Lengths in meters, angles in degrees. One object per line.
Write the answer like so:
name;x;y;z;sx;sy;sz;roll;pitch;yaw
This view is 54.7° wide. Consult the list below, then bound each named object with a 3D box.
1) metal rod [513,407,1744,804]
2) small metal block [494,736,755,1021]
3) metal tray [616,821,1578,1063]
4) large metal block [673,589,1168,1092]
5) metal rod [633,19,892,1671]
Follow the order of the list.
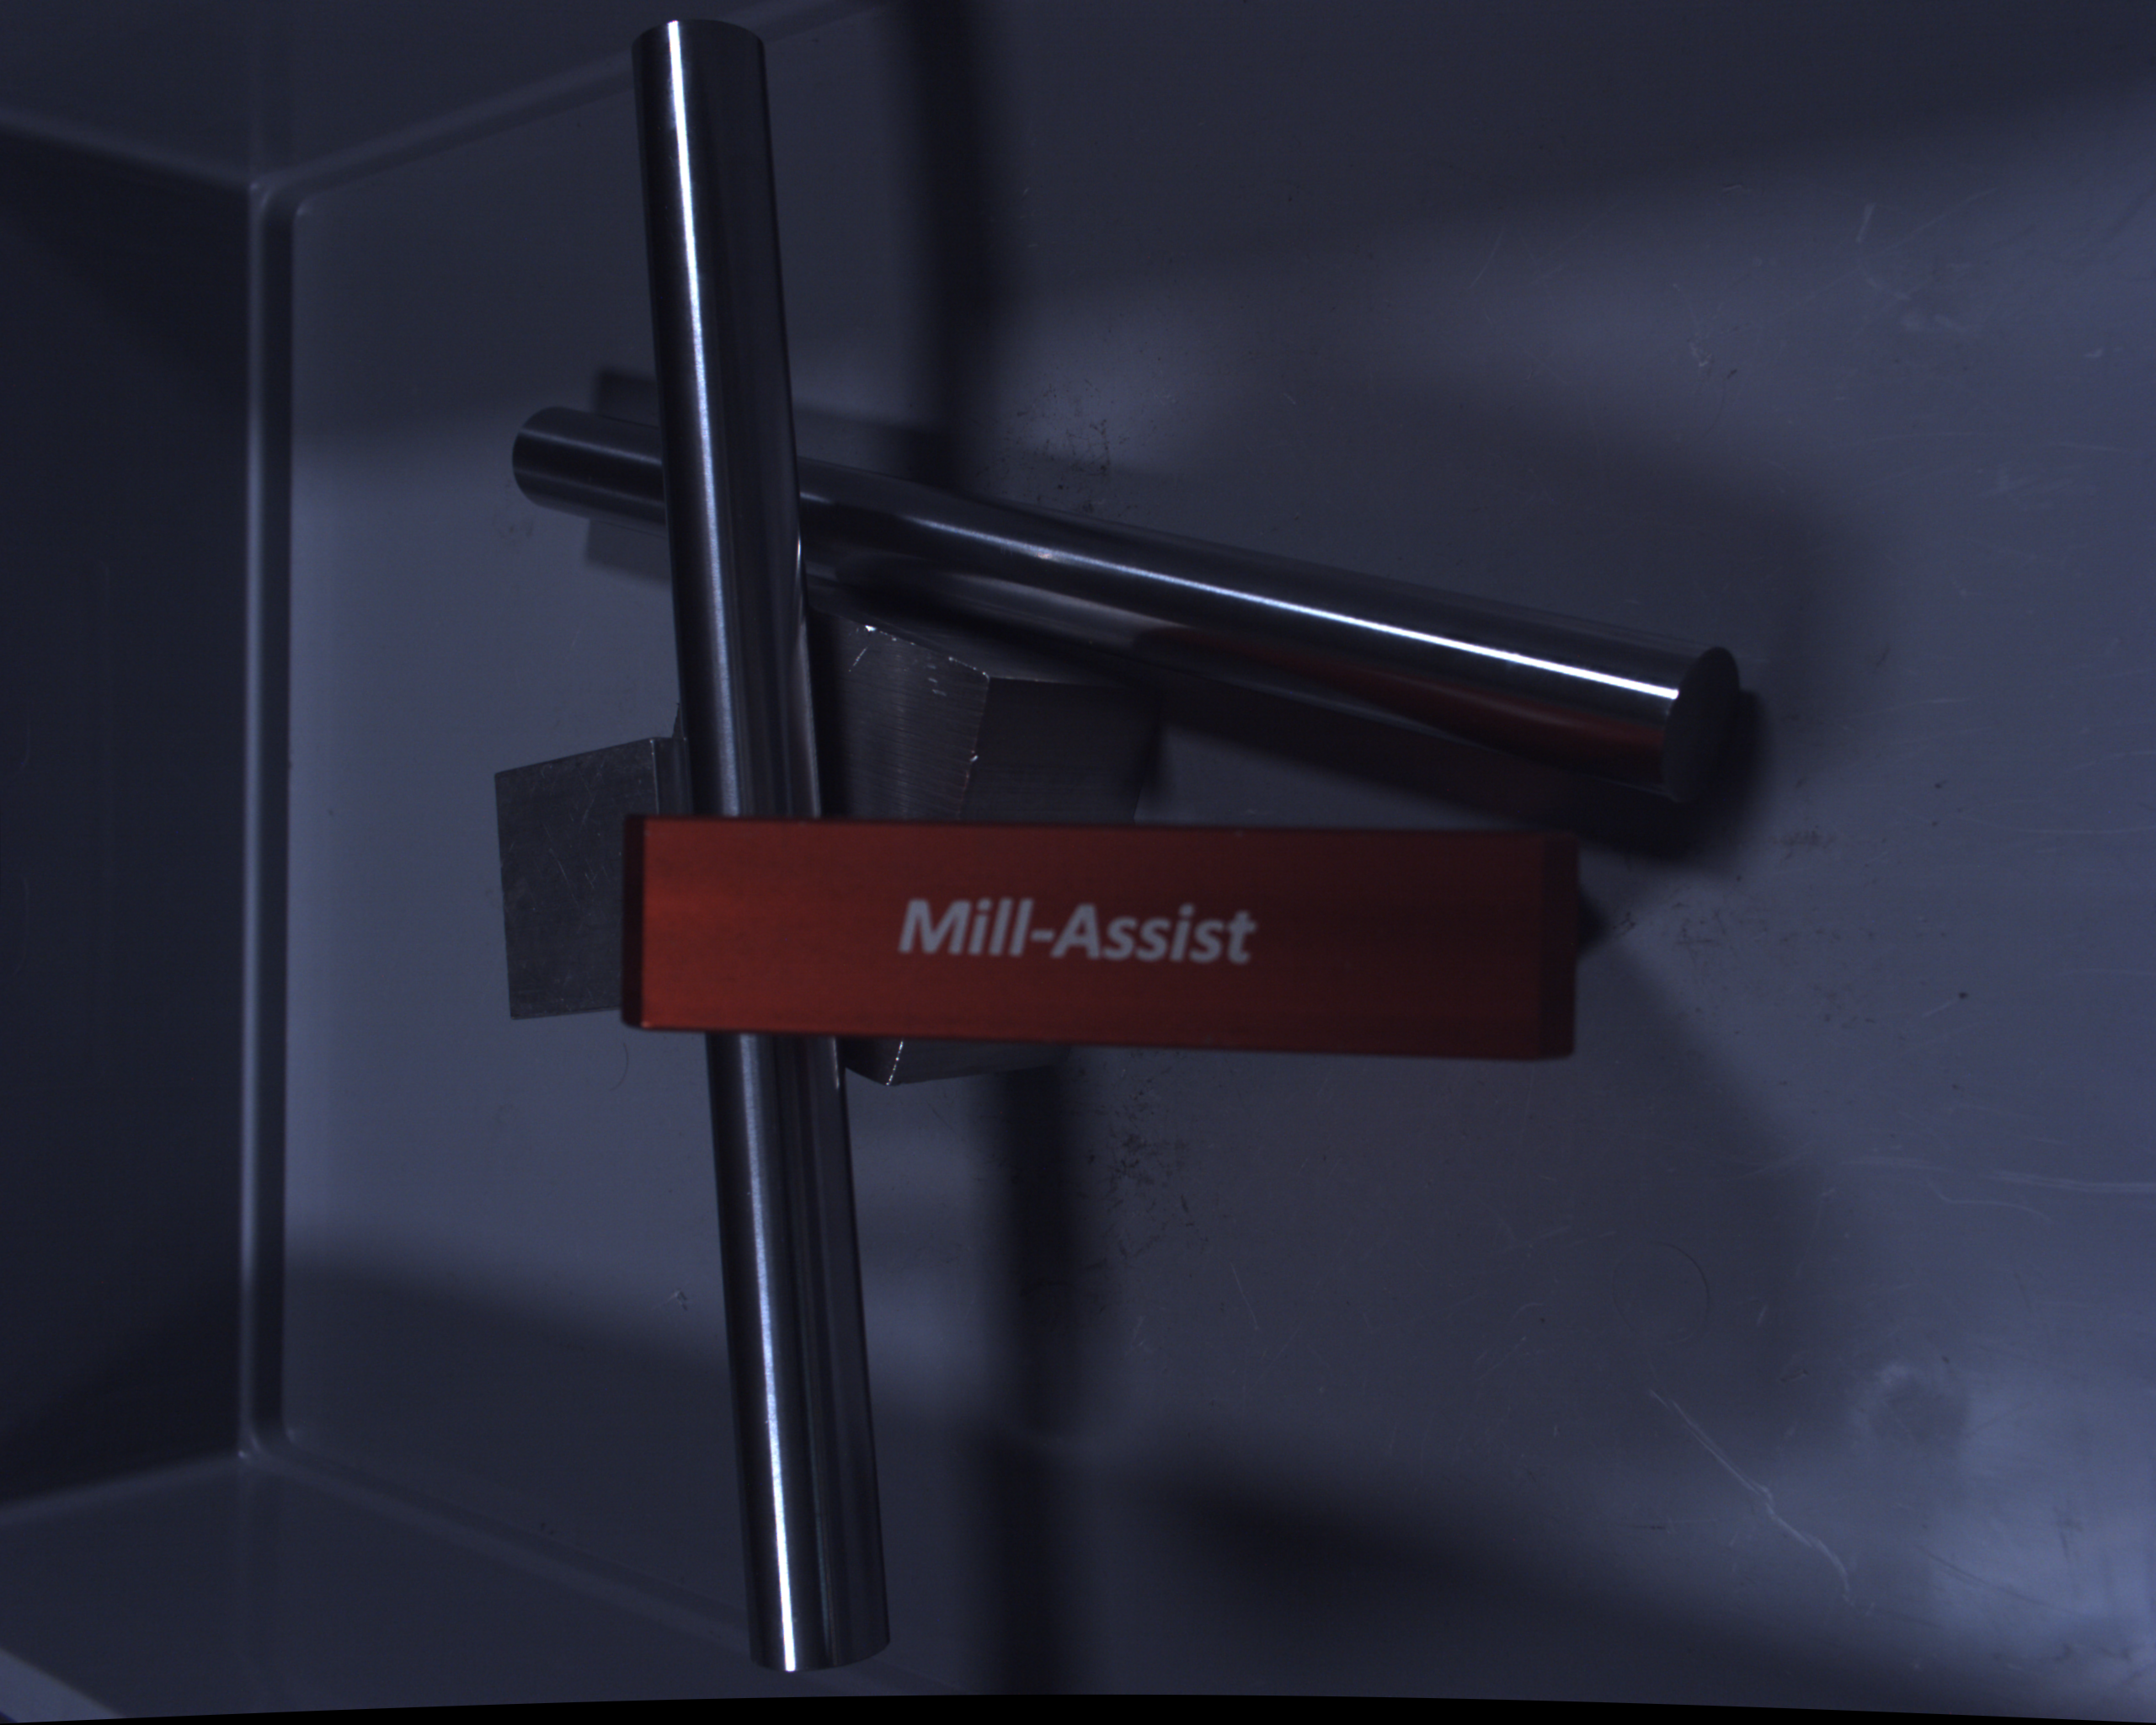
metal rod;-0.015;-0.060;0.416;0.300;0.025;0.025;19;102;38
small metal block;-0.088;0.004;0.409;0.050;0.025;0.050;-8;84;39
metal tray;0.006;0.009;0.321;0.131;0.090;0.030;1;92;8
large metal block;-0.038;-0.008;0.418;0.080;0.050;0.079;23;104;37
metal rod;-0.059;-0.007;0.386;0.025;0.025;0.298;-8;85;39
